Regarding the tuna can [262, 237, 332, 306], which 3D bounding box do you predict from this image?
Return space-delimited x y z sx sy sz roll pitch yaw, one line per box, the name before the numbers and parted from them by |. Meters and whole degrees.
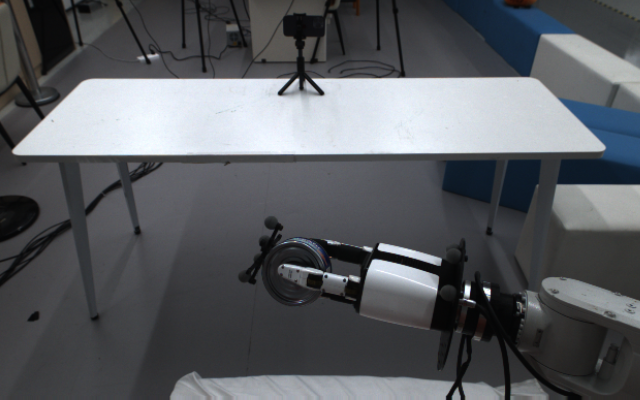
tuna can | -0.026 0.093 0.616 0.085 0.085 0.034 8 5 9
